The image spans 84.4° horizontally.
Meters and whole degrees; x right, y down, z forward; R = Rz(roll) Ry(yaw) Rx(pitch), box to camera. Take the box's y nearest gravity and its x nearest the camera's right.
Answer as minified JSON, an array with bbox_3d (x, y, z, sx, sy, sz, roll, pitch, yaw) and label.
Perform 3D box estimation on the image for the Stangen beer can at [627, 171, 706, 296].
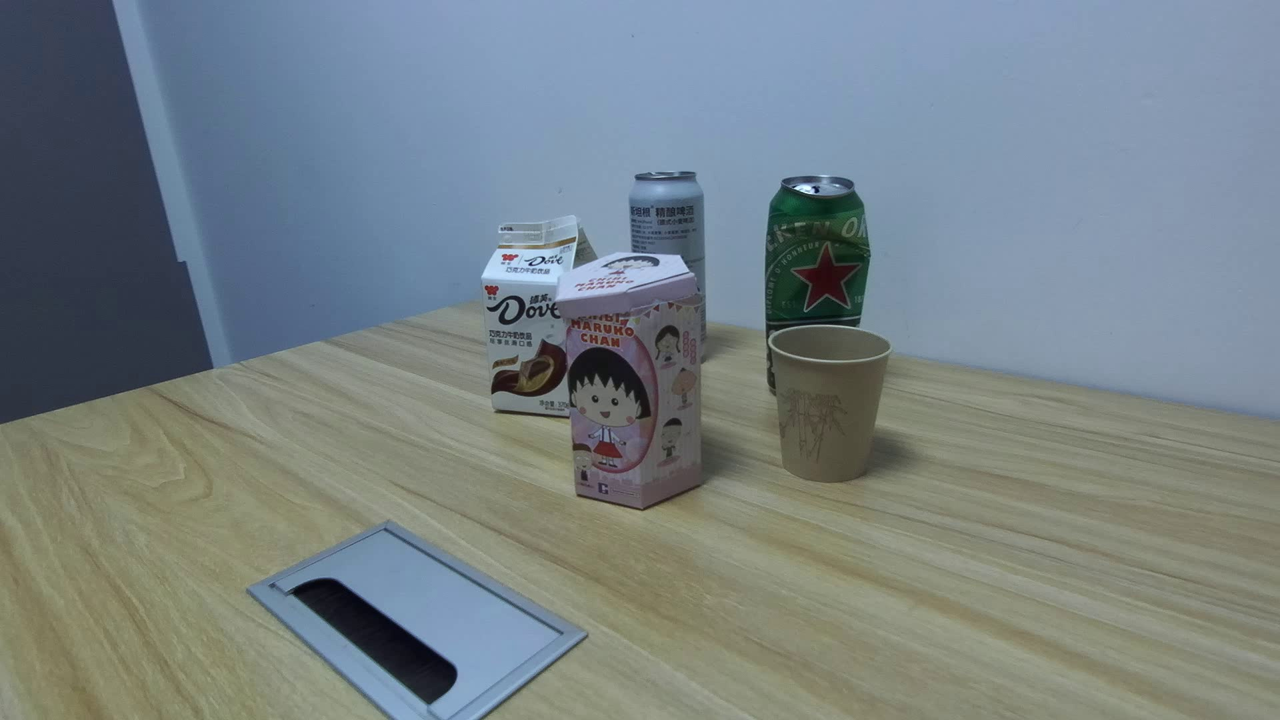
[{"bbox_3d":[0.026,-0.084,0.643,0.067,0.171,0.067,-2,20,1],"label":"Stangen beer can"}]

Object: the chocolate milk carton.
[{"bbox_3d":[-0.073,-0.038,0.558,0.075,0.148,0.074,4,20,16],"label":"chocolate milk carton"}]

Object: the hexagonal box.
[{"bbox_3d":[-0.004,0.009,0.432,0.092,0.135,0.085,8,23,26],"label":"hexagonal box"}]

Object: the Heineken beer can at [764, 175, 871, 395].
[{"bbox_3d":[0.134,-0.053,0.546,0.068,0.168,0.069,14,28,34],"label":"Heineken beer can"}]
